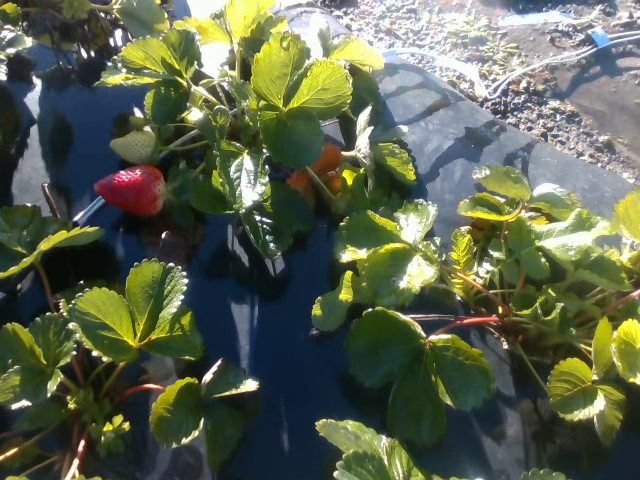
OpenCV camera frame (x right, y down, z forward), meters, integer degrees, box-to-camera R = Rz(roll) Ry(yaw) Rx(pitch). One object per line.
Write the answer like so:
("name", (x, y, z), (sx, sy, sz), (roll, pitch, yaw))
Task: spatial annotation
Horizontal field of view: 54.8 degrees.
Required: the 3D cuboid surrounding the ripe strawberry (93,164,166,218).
("ripe strawberry", (-0.177, -0.049, 0.576), (0.080, 0.063, 0.040), (2, -4, -23))
